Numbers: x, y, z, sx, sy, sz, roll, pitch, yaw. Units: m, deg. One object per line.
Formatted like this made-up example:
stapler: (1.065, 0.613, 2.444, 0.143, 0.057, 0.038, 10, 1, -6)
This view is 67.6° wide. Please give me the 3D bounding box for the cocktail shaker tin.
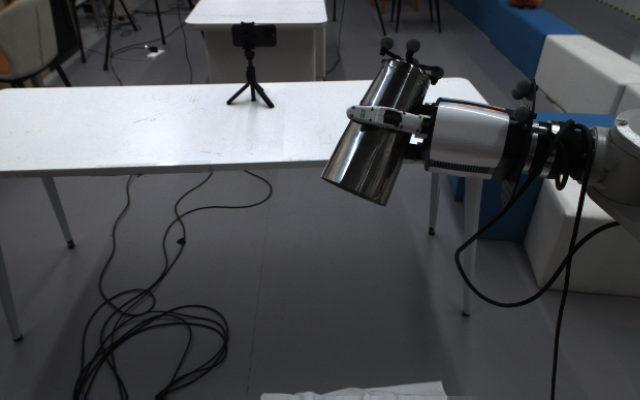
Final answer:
cocktail shaker tin: (0.079, -0.090, 0.620, 0.093, 0.170, 0.093, 23, 0, 0)
